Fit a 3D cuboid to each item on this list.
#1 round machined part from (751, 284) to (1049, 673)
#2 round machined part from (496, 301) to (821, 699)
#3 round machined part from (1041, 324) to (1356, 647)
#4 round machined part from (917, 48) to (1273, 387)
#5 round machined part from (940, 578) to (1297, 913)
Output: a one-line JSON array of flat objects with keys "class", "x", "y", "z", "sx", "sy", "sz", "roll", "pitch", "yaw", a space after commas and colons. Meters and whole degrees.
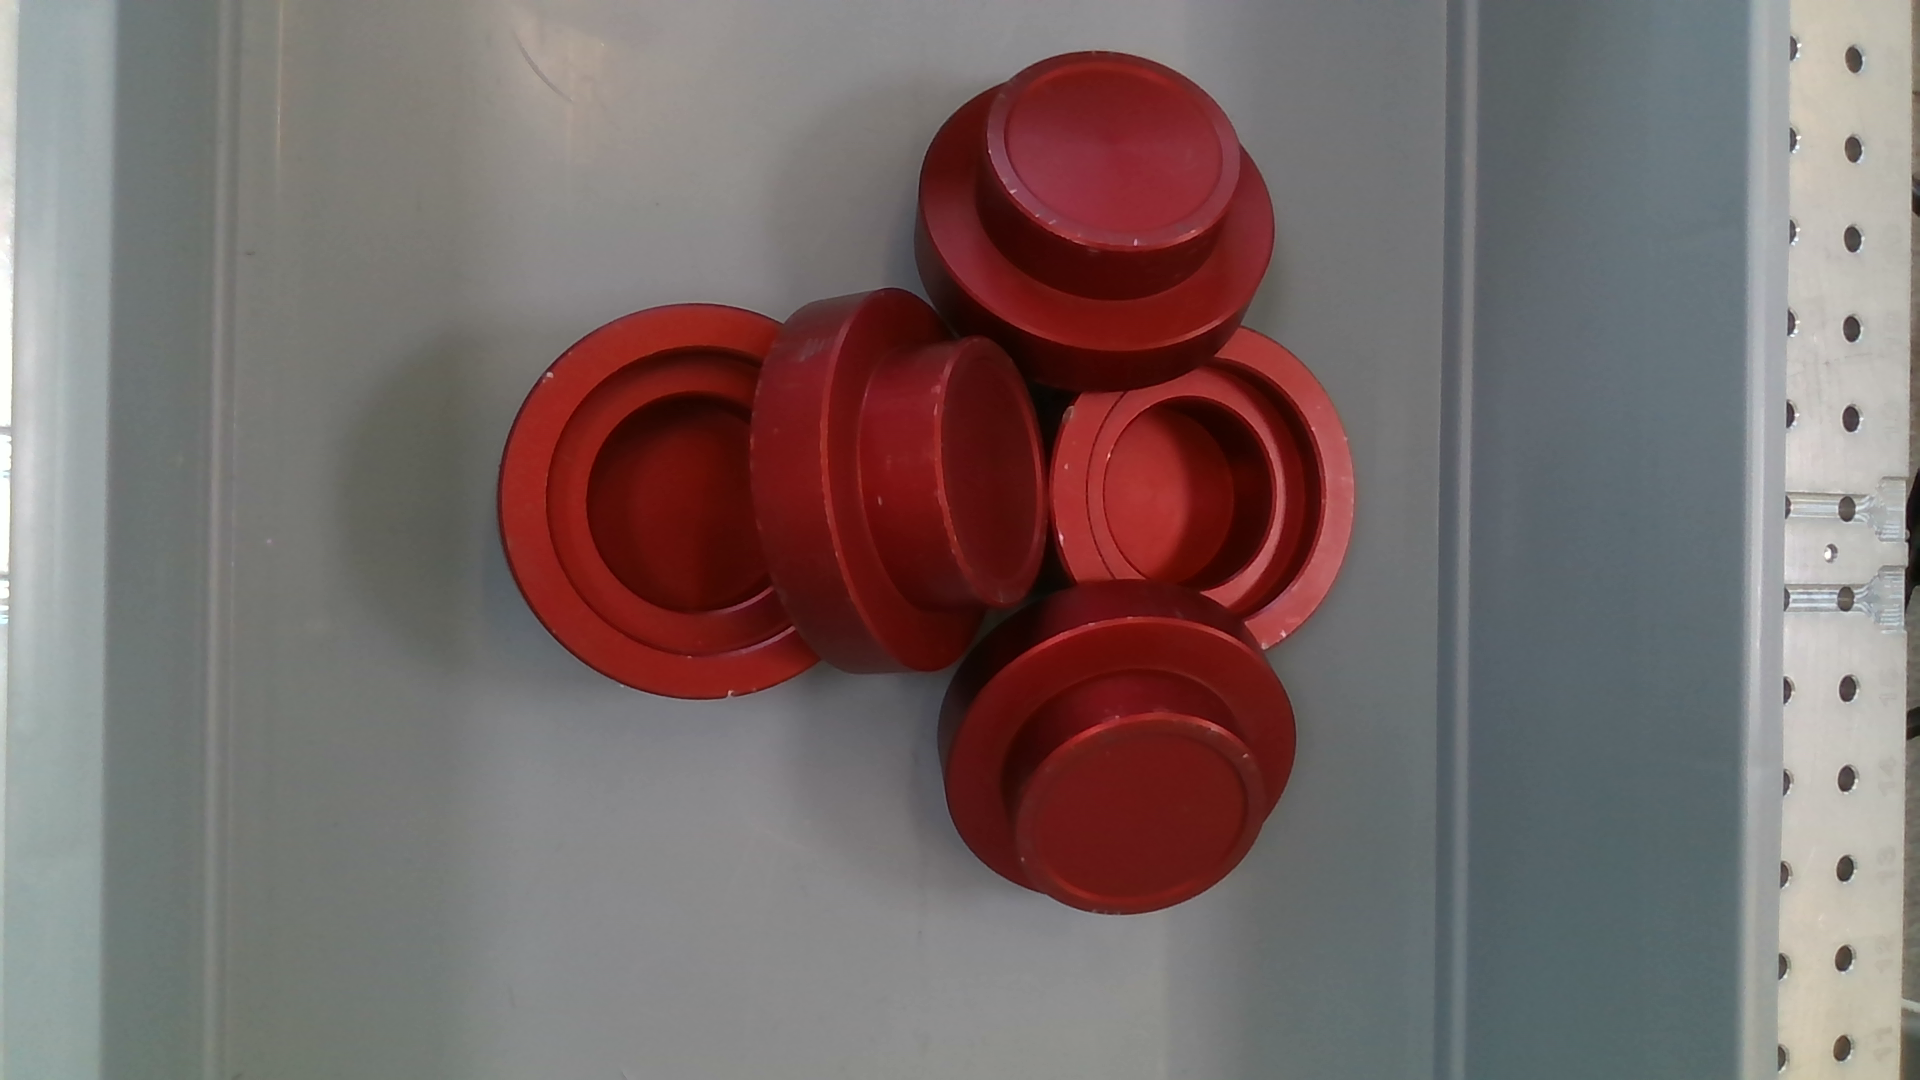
[{"class": "round machined part", "x": -0.009, "y": -0.016, "z": 0.350, "sx": 0.042, "sy": 0.098, "sz": 0.098, "roll": -5, "pitch": 92, "yaw": 24}, {"class": "round machined part", "x": -0.069, "y": -0.010, "z": 0.358, "sx": 0.098, "sy": 0.042, "sz": 0.098, "roll": 0, "pitch": 90, "yaw": -20}, {"class": "round machined part", "x": 0.064, "y": -0.014, "z": 0.406, "sx": 0.098, "sy": 0.042, "sz": 0.098, "roll": 0, "pitch": 90, "yaw": -20}, {"class": "round machined part", "x": 0.038, "y": -0.094, "z": 0.374, "sx": 0.098, "sy": 0.042, "sz": 0.098, "roll": 3, "pitch": 62, "yaw": -6}, {"class": "round machined part", "x": 0.045, "y": 0.063, "z": 0.377, "sx": 0.098, "sy": 0.042, "sz": 0.098, "roll": -4, "pitch": 120, "yaw": -6}]
